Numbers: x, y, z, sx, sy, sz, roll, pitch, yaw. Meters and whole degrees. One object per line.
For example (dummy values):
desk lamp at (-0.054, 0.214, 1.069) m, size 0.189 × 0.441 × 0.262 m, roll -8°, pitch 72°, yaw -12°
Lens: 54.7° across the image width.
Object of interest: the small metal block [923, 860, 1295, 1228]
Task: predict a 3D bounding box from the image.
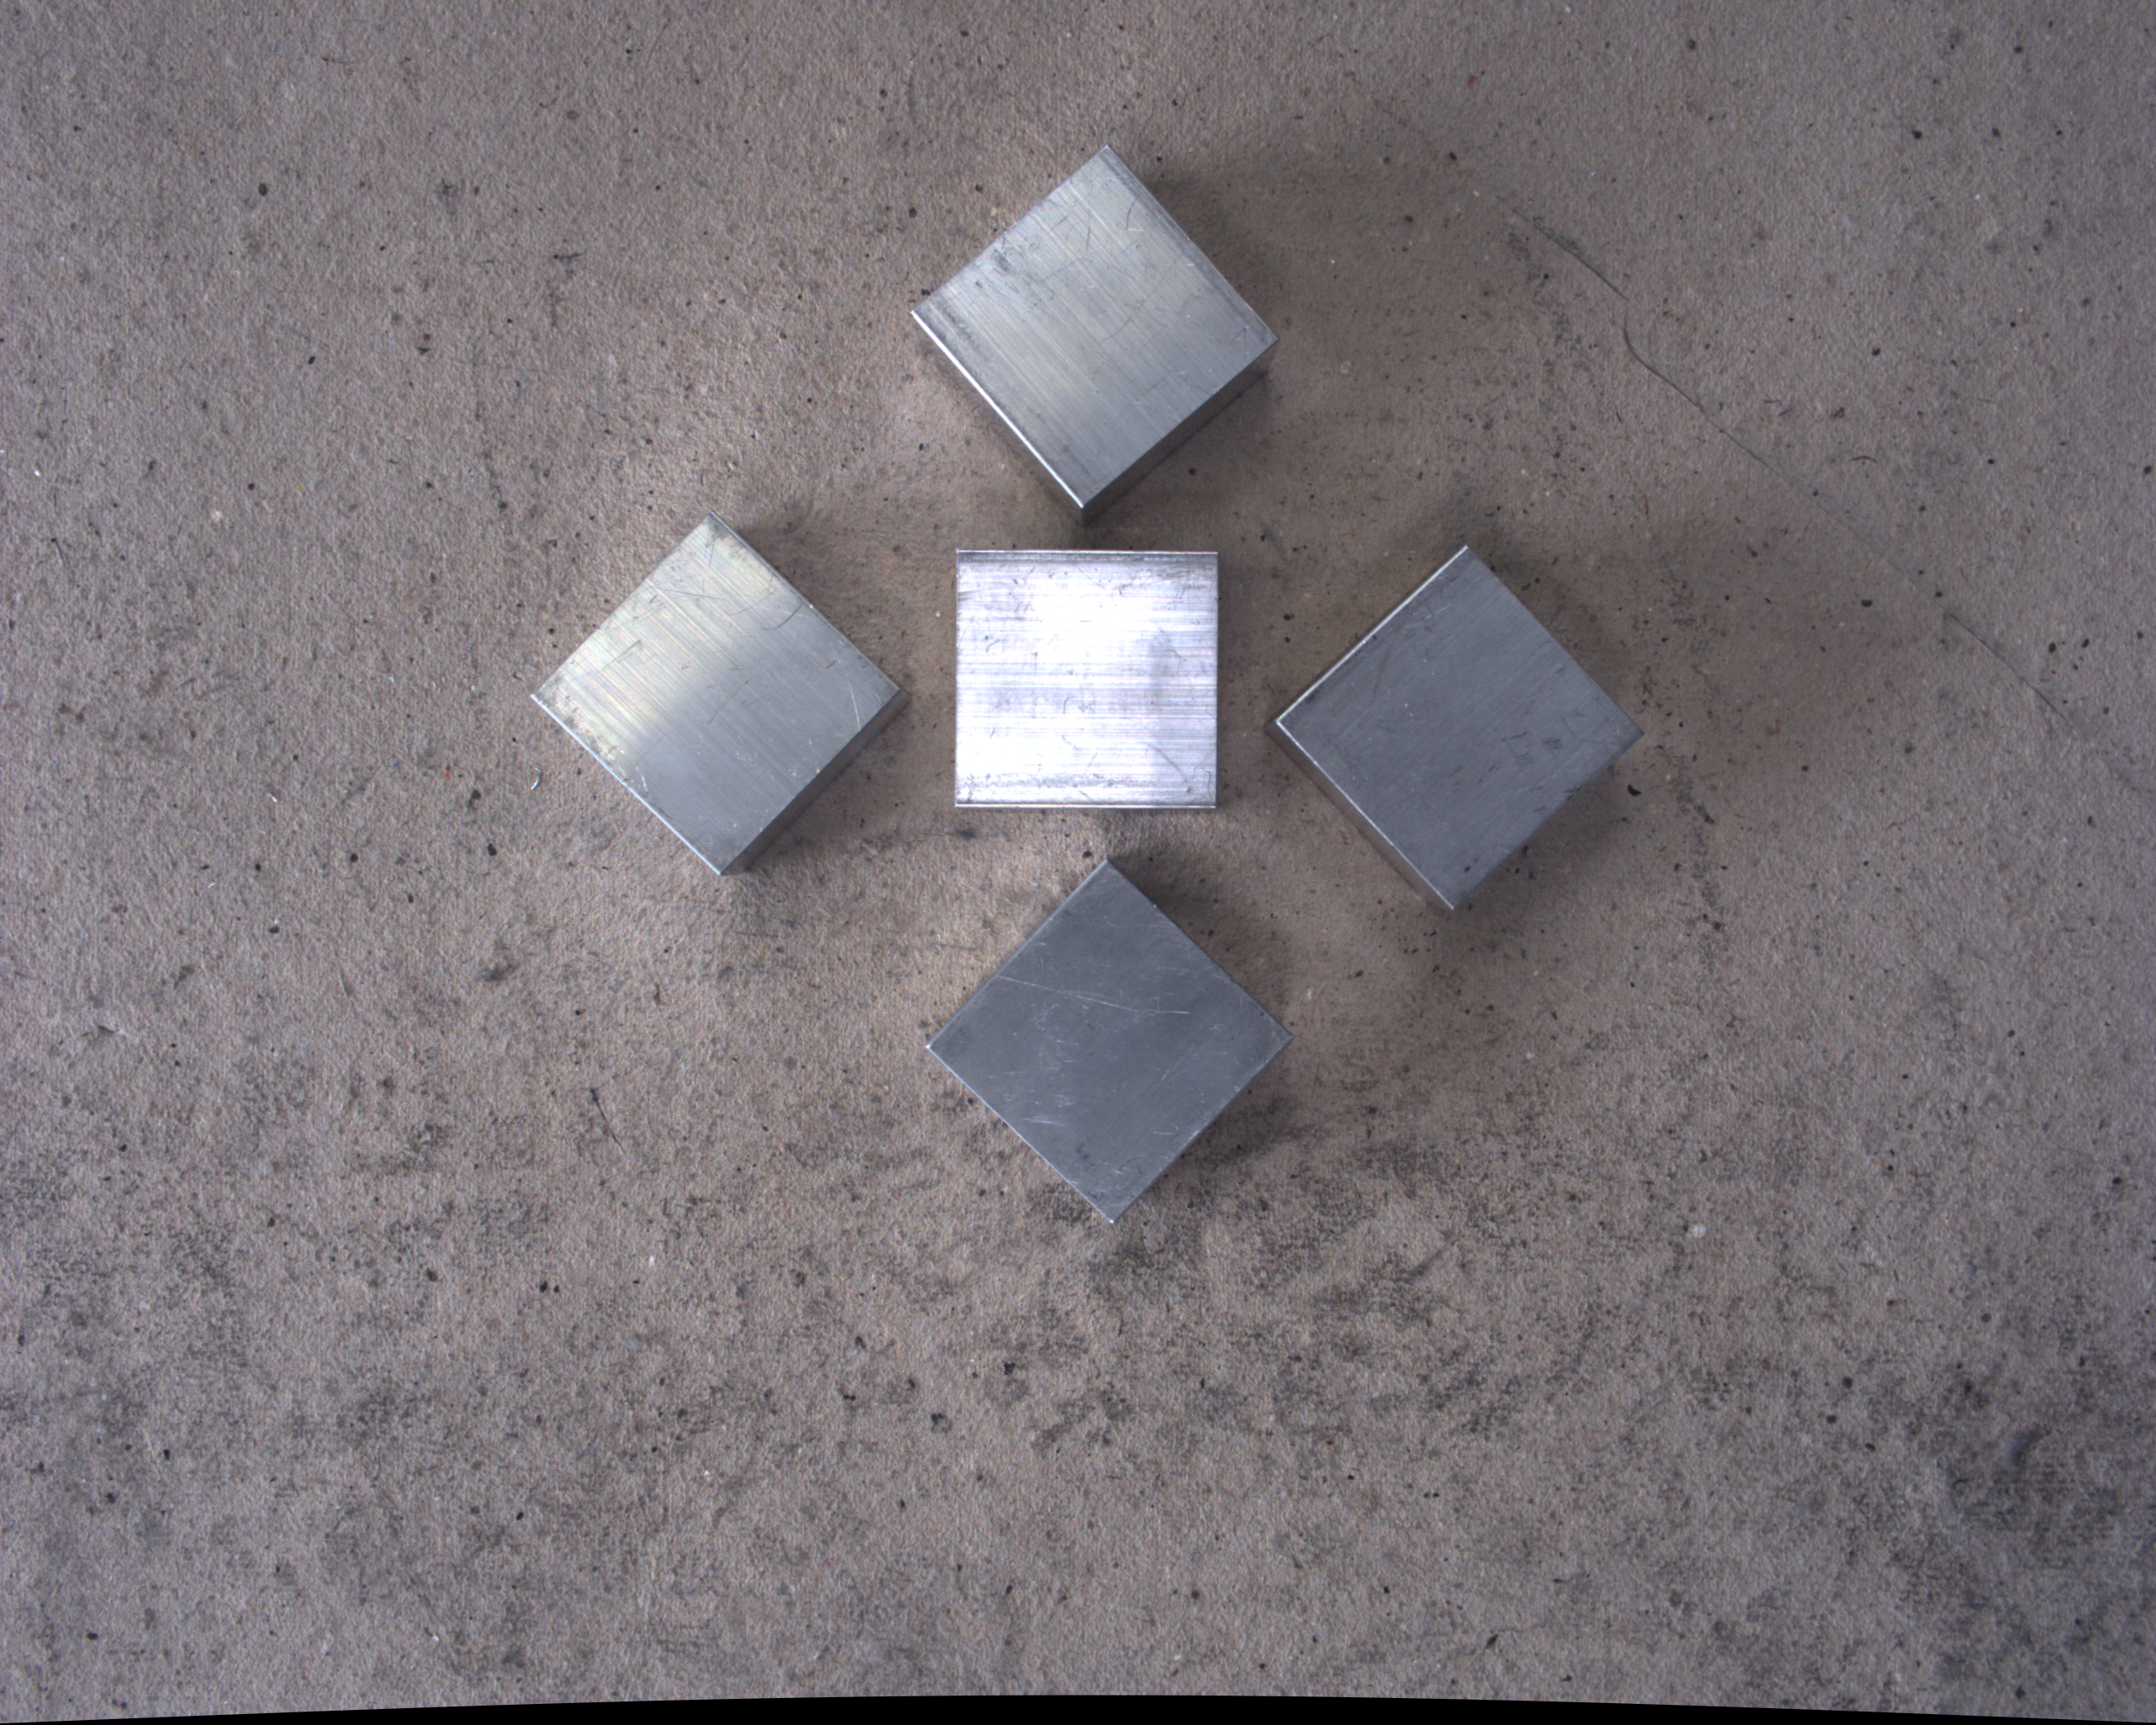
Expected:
small metal block at (0.006, 0.035, 0.411) m, size 0.050 × 0.025 × 0.050 m, roll 44°, pitch 89°, yaw -1°

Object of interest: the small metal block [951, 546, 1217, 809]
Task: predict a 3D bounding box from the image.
small metal block at (0.001, -0.036, 0.411) m, size 0.050 × 0.025 × 0.050 m, roll 0°, pitch 90°, yaw 0°

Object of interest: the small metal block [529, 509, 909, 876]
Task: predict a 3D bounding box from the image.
small metal block at (-0.069, -0.032, 0.411) m, size 0.050 × 0.025 × 0.050 m, roll 44°, pitch 89°, yaw 0°

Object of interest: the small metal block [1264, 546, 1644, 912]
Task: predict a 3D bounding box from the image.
small metal block at (0.073, -0.026, 0.412) m, size 0.050 × 0.025 × 0.050 m, roll -43°, pitch 91°, yaw 0°

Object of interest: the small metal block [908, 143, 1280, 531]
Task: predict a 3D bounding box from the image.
small metal block at (0.003, -0.102, 0.410) m, size 0.050 × 0.025 × 0.050 m, roll -41°, pitch 90°, yaw -1°
